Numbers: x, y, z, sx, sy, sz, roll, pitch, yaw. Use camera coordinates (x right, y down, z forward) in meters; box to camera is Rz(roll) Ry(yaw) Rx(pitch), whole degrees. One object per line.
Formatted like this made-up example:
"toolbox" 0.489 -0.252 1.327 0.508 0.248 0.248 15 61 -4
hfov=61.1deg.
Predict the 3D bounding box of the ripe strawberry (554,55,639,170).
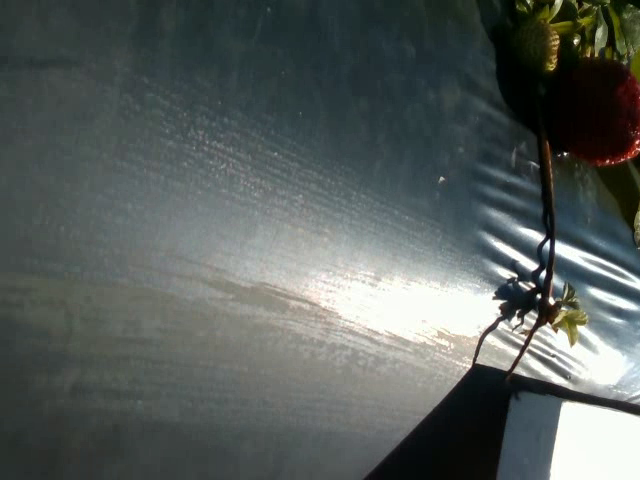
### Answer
"ripe strawberry" 0.105 -0.046 0.202 0.043 0.053 0.041 -36 -49 23
